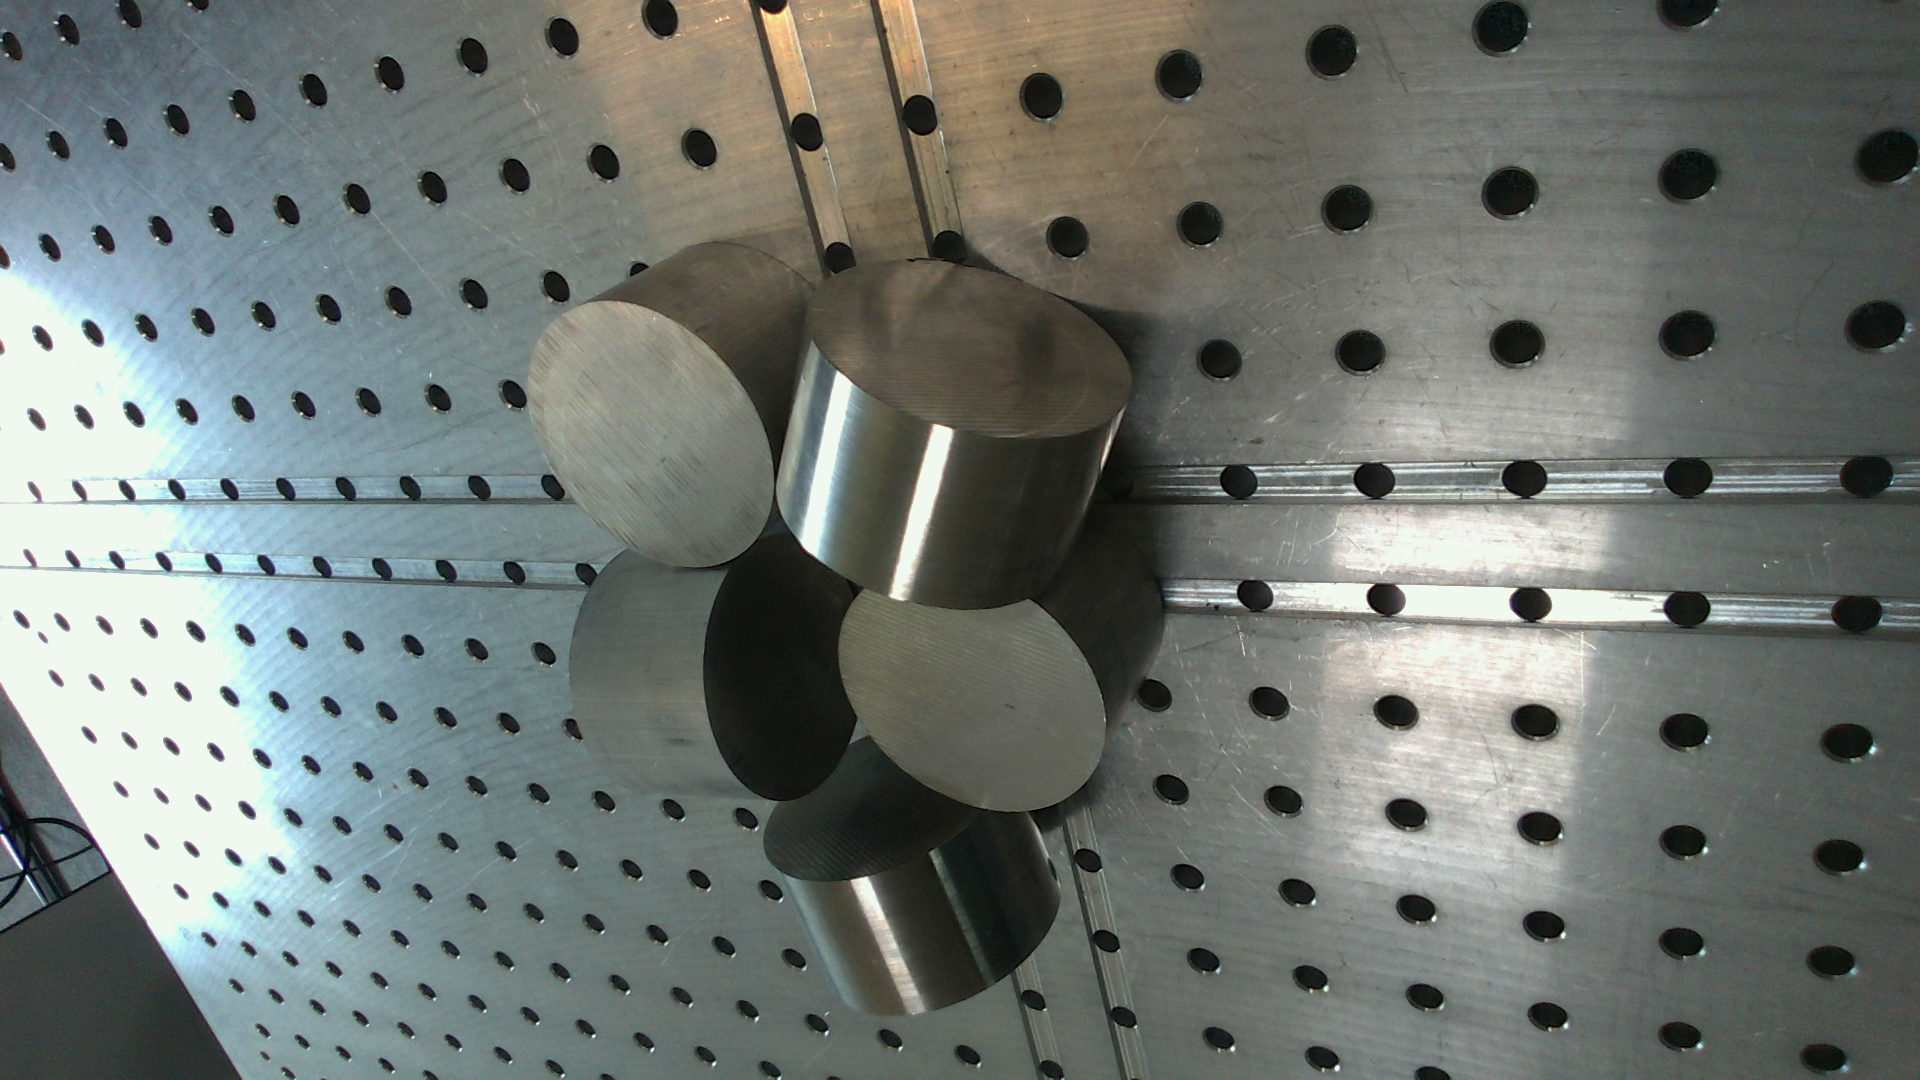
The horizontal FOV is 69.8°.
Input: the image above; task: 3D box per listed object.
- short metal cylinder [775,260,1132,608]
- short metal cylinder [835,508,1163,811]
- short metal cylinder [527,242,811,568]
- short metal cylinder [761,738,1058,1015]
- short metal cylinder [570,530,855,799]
[{"bbox_3d":[-0.003,-0.028,0.345,0.080,0.080,0.050,25,127,13],"label":"short metal cylinder"},{"bbox_3d":[0.012,0.030,0.392,0.080,0.050,0.080,13,124,20],"label":"short metal cylinder"},{"bbox_3d":[-0.075,-0.039,0.396,0.080,0.050,0.080,14,125,21],"label":"short metal cylinder"},{"bbox_3d":[-0.015,0.100,0.429,0.080,0.080,0.050,-7,116,31],"label":"short metal cylinder"},{"bbox_3d":[-0.072,0.038,0.424,0.050,0.080,0.080,-3,117,29],"label":"short metal cylinder"}]
